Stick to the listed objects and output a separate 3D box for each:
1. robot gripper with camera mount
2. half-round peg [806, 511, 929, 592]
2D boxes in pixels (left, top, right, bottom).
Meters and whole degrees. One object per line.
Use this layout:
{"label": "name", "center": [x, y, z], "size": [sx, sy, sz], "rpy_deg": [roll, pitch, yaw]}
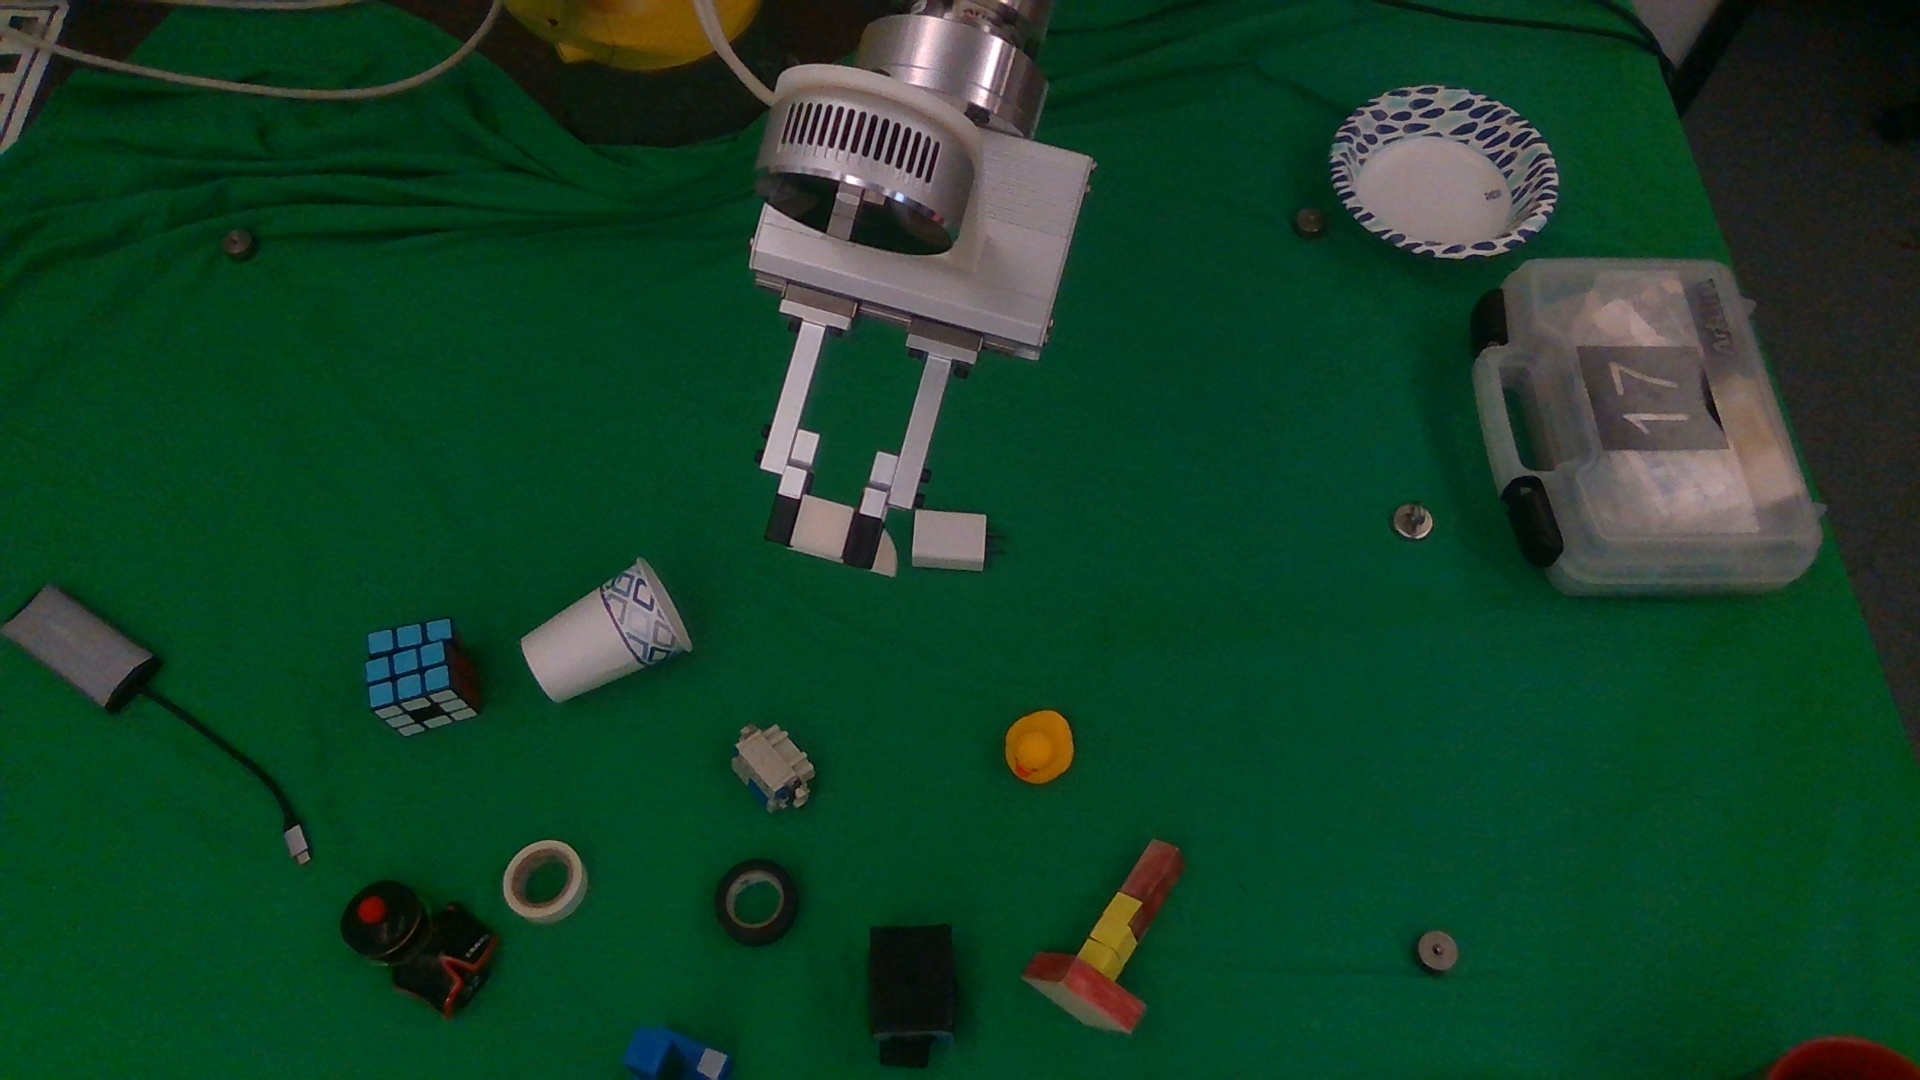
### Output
{"label": "robot gripper with camera mount", "center": [-0.022, -0.070, 0.442], "size": [0.119, 0.193, 0.158], "rpy_deg": [15, 89, -1]}
{"label": "half-round peg", "center": [-0.042, 0.003, 0.575], "size": [0.054, 0.122, 0.031], "rpy_deg": [14, 89, 2]}
